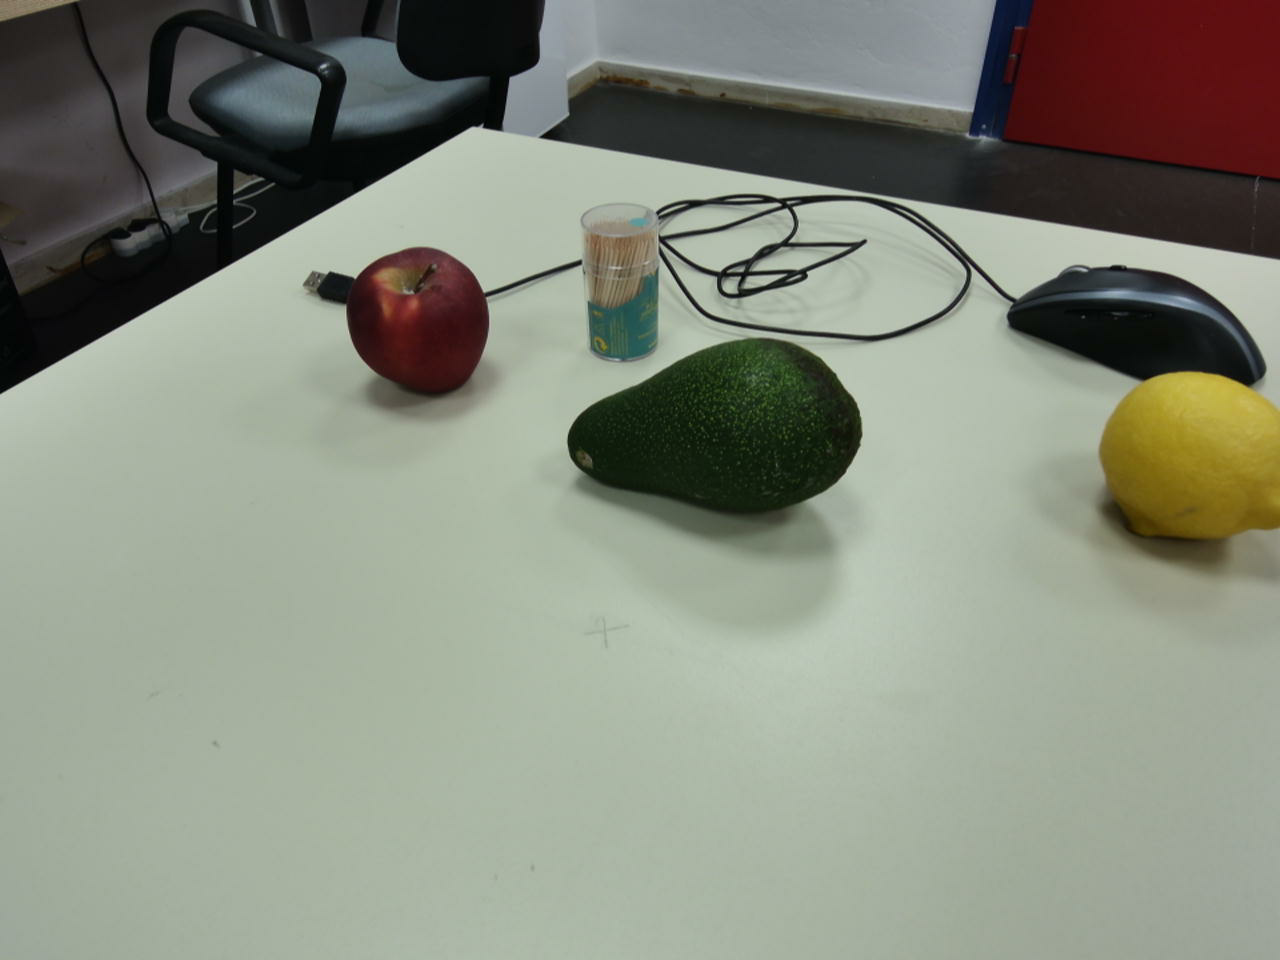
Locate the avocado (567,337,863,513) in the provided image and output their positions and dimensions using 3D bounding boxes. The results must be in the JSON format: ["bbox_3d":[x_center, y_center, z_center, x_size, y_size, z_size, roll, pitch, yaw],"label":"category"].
[{"bbox_3d":[0.035,-0.028,0.427,0.123,0.076,0.074,22,42,26],"label":"avocado"}]
